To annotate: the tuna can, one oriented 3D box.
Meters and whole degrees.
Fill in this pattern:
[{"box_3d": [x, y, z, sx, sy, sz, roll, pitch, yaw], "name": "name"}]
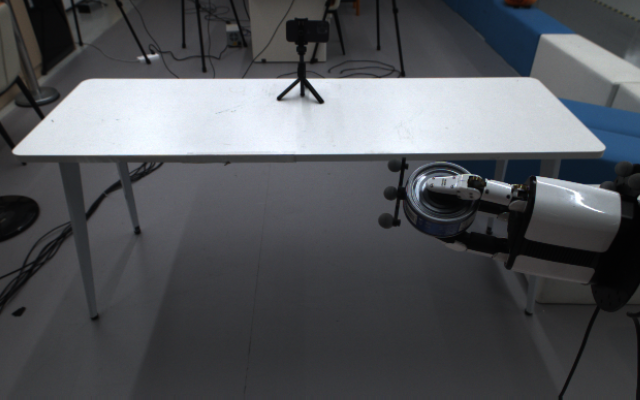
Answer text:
[{"box_3d": [0.144, -0.004, 0.561, 0.085, 0.034, 0.085, -2, 57, 3], "name": "tuna can"}]
